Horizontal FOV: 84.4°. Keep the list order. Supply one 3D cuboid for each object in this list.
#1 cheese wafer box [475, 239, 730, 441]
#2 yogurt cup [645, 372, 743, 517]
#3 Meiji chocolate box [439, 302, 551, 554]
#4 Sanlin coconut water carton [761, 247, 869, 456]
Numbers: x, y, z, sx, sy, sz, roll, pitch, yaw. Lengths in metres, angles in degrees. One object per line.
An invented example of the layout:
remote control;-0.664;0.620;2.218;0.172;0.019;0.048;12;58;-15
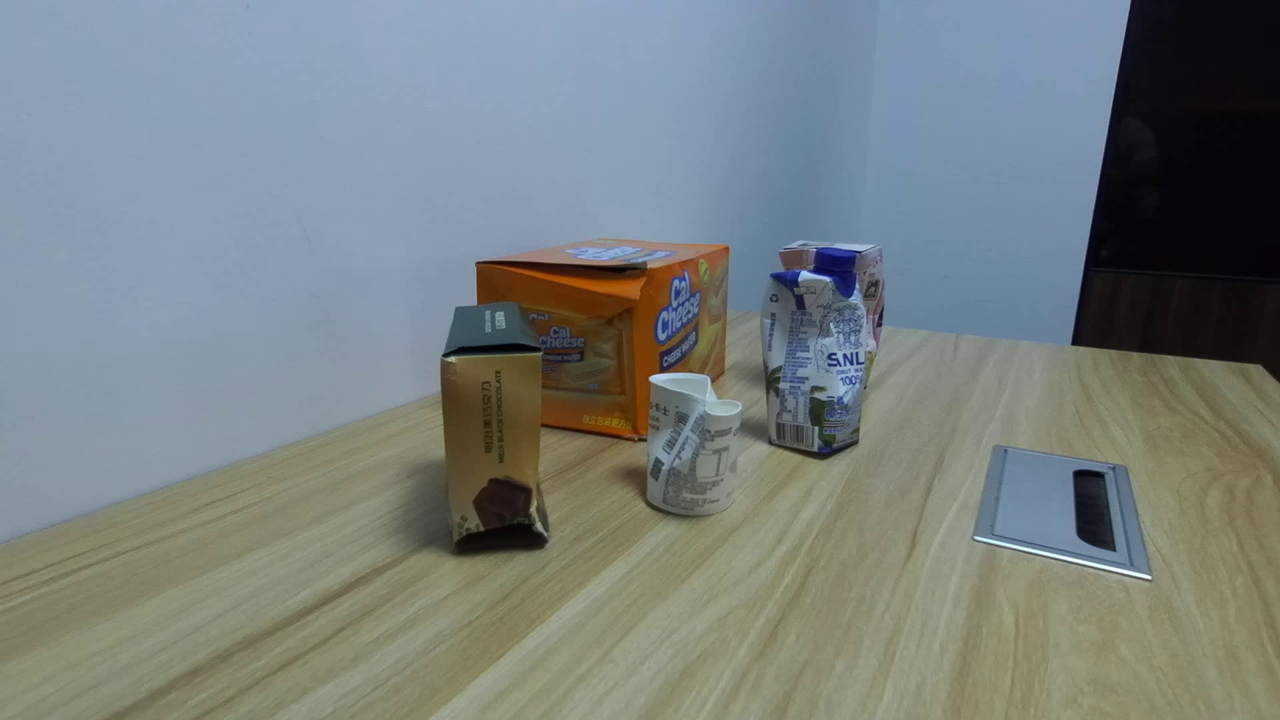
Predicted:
cheese wafer box;-0.019;-0.033;0.621;0.149;0.137;0.228;7;15;22
yogurt cup;0.030;0.050;0.420;0.075;0.071;0.054;11;20;37
Meiji chocolate box;-0.085;0.033;0.407;0.058;0.116;0.122;-2;14;-11
Sanlin coconut water carton;0.127;-0.008;0.515;0.068;0.144;0.057;3;6;39
